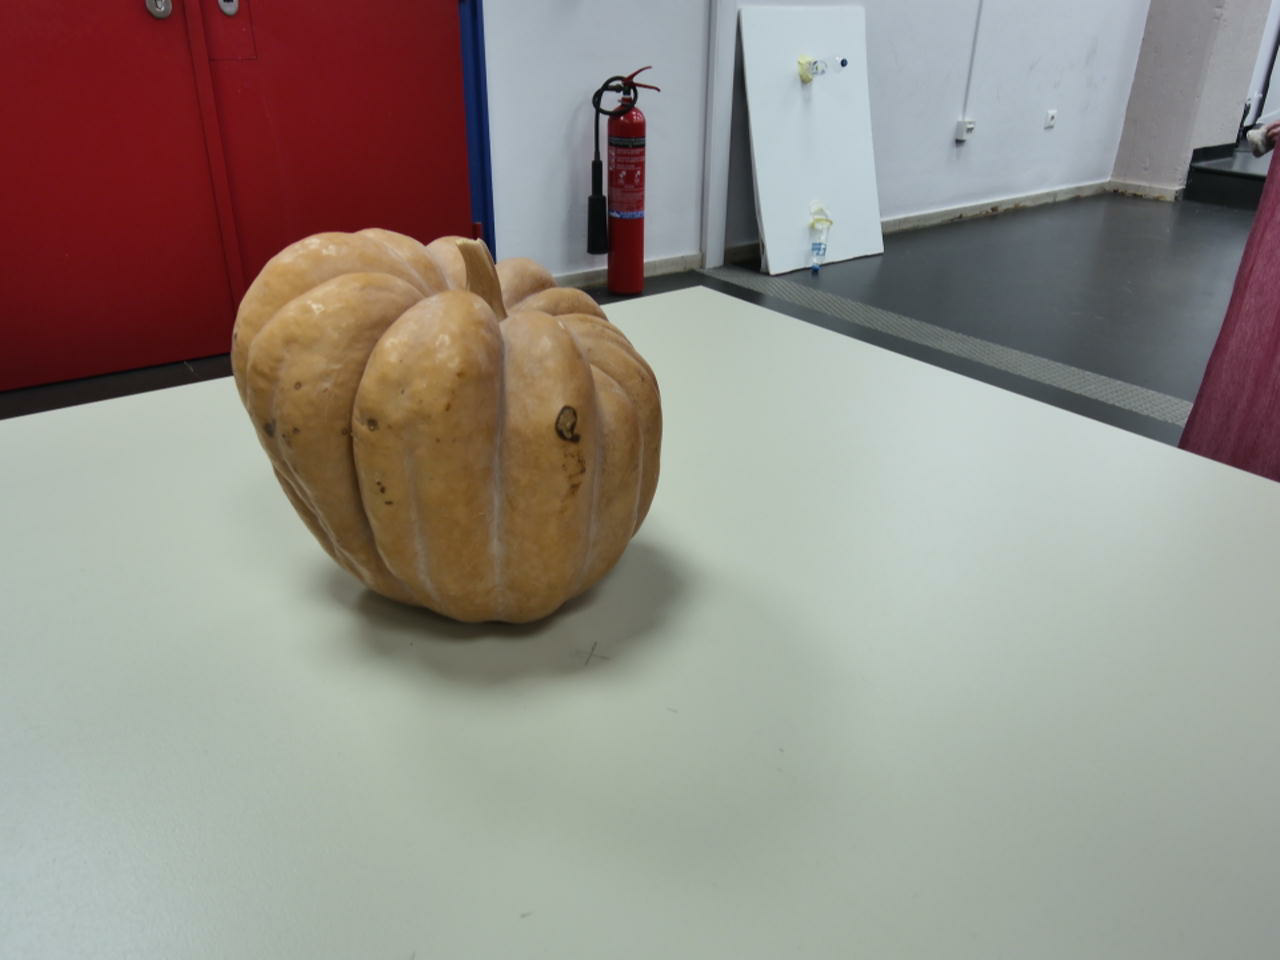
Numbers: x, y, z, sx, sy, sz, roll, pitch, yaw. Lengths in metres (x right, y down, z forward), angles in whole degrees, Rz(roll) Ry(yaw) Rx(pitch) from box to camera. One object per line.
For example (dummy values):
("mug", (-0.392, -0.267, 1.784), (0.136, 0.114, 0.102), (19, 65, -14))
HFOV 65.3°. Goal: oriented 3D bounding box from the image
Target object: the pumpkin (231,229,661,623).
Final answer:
("pumpkin", (-0.086, -0.027, 0.467), (0.199, 0.177, 0.198), (1, 25, 0))
